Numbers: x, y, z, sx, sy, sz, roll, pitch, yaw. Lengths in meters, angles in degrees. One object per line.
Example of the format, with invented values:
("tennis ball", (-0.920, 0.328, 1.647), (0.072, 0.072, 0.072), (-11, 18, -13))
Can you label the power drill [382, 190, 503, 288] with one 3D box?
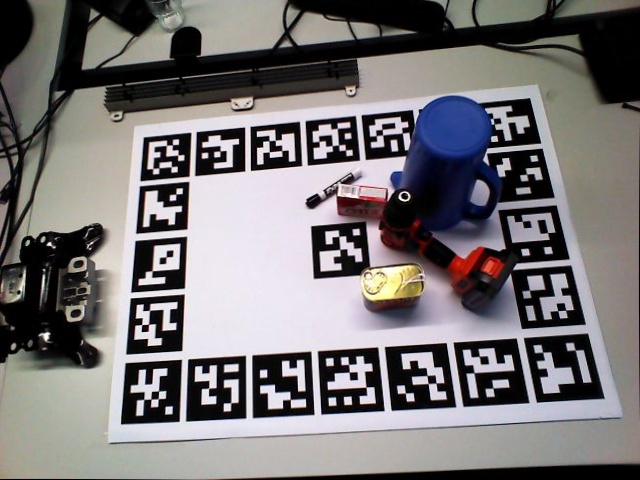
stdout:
("power drill", (0.186, -0.001, 0.819), (0.187, 0.185, 0.057), (31, 78, 9))

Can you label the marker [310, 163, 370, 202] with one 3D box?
("marker", (0.035, -0.106, 0.956), (0.121, 0.020, 0.019), (-30, 70, -4))

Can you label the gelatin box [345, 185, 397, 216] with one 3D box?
("gelatin box", (0.090, -0.067, 0.911), (0.089, 0.073, 0.030), (6, 74, 6))

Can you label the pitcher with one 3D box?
("pitcher", (0.227, -0.109, 0.829), (0.189, 0.243, 0.133), (26, 77, 21))

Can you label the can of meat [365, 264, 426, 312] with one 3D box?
("can of meat", (0.125, 0.080, 0.845), (0.102, 0.084, 0.057), (-5, 68, 3))
